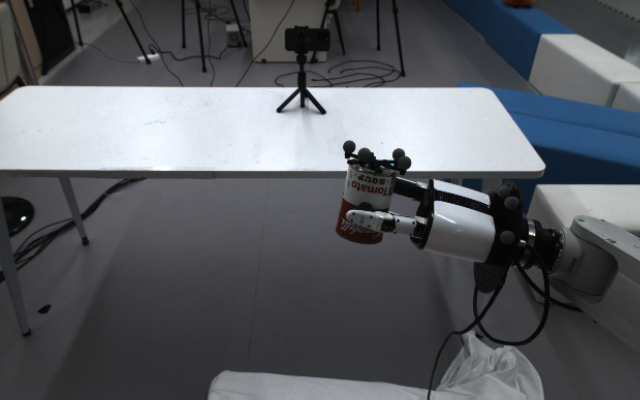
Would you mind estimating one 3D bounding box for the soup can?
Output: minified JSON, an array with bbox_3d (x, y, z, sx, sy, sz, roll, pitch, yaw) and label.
[{"bbox_3d":[0.065,-0.001,0.664,0.067,0.101,0.067,9,20,-3],"label":"soup can"}]
